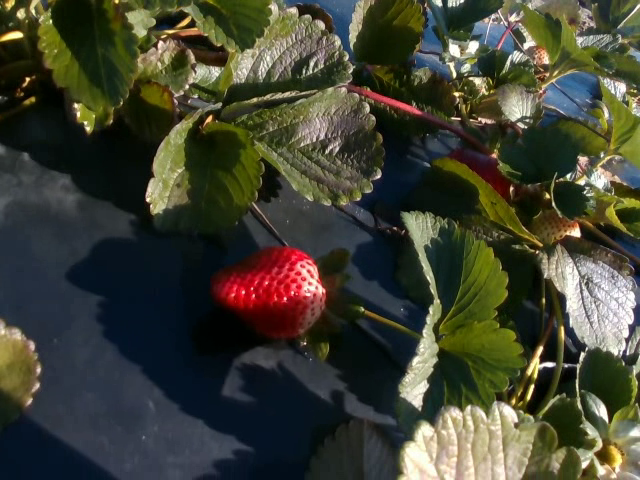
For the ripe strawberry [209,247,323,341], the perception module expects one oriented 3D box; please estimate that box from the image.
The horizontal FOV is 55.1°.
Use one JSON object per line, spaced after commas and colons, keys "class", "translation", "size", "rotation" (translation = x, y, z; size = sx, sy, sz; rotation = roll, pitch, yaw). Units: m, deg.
{"class": "ripe strawberry", "translation": [-0.020, 0.020, 0.227], "size": [0.055, 0.042, 0.044], "rotation": [5, -6, -39]}
